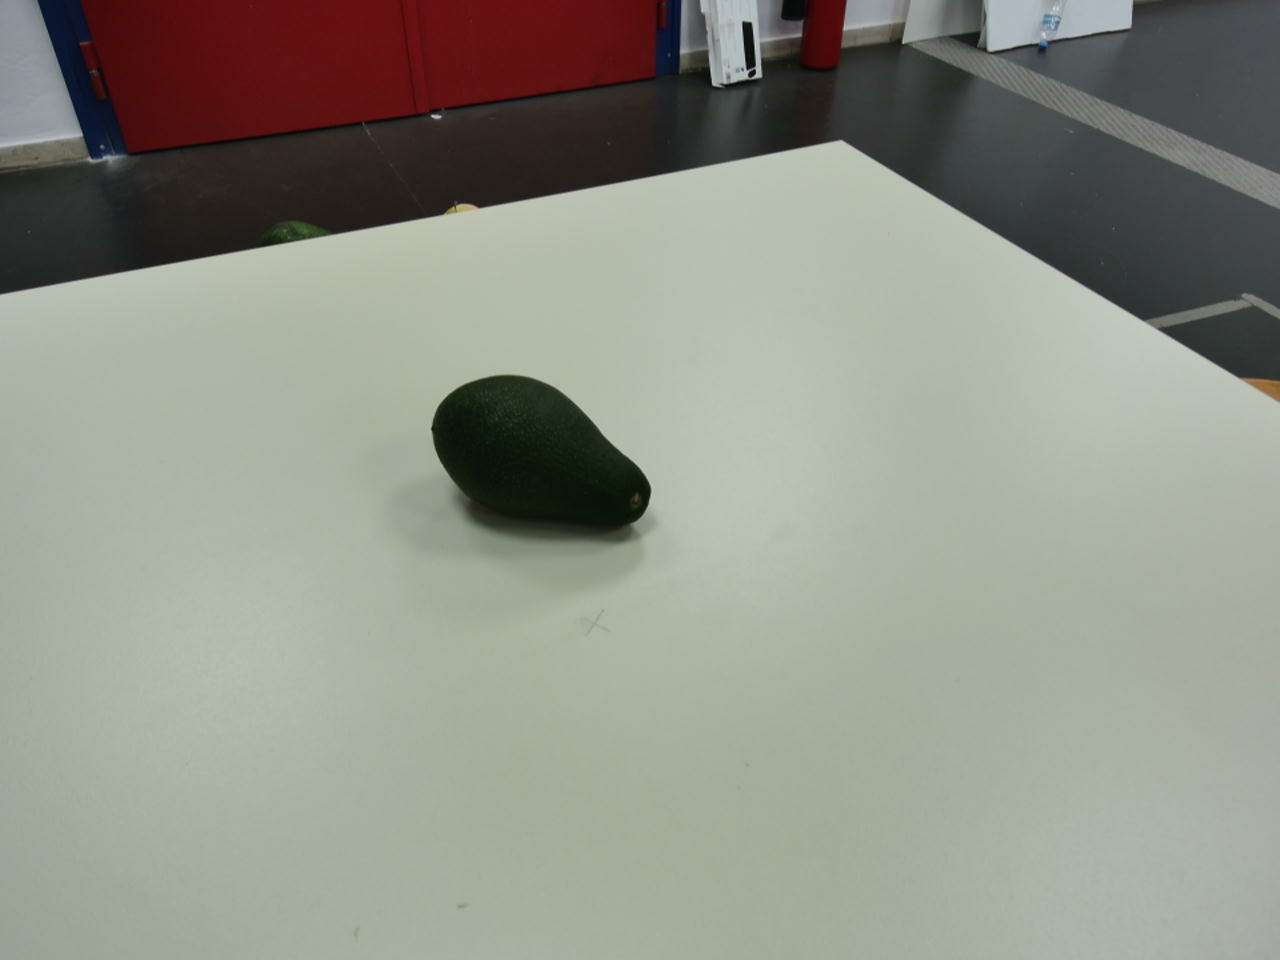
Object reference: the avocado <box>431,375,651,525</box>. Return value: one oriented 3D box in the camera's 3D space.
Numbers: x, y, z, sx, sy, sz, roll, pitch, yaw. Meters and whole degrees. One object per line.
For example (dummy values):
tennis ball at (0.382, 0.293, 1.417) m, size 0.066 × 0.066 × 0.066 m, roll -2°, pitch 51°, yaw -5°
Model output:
avocado at (-0.053, -0.013, 0.506) m, size 0.110 × 0.071 × 0.072 m, roll 29°, pitch 47°, yaw 31°
